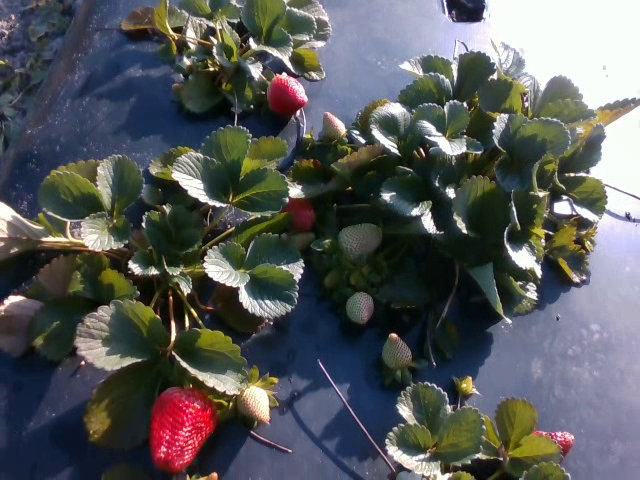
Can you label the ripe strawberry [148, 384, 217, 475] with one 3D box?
[{"bbox_3d":[-0.102,0.137,0.450,0.057,0.072,0.055,-34,-57,21],"label":"ripe strawberry"}]
